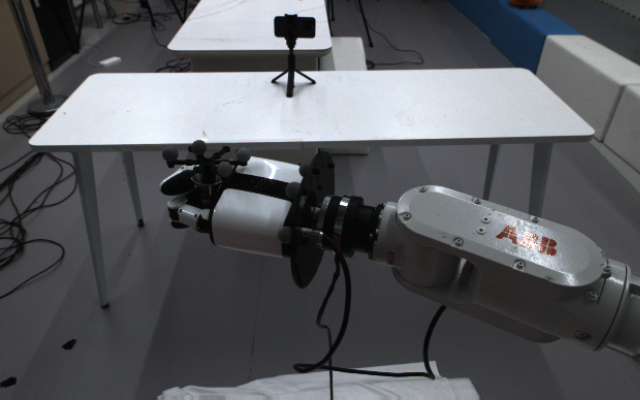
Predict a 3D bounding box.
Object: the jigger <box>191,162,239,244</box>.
[{"bbox_3d":[-0.131,-0.001,0.586,0.043,0.071,0.043,4,31,-2],"label":"jigger"}]
